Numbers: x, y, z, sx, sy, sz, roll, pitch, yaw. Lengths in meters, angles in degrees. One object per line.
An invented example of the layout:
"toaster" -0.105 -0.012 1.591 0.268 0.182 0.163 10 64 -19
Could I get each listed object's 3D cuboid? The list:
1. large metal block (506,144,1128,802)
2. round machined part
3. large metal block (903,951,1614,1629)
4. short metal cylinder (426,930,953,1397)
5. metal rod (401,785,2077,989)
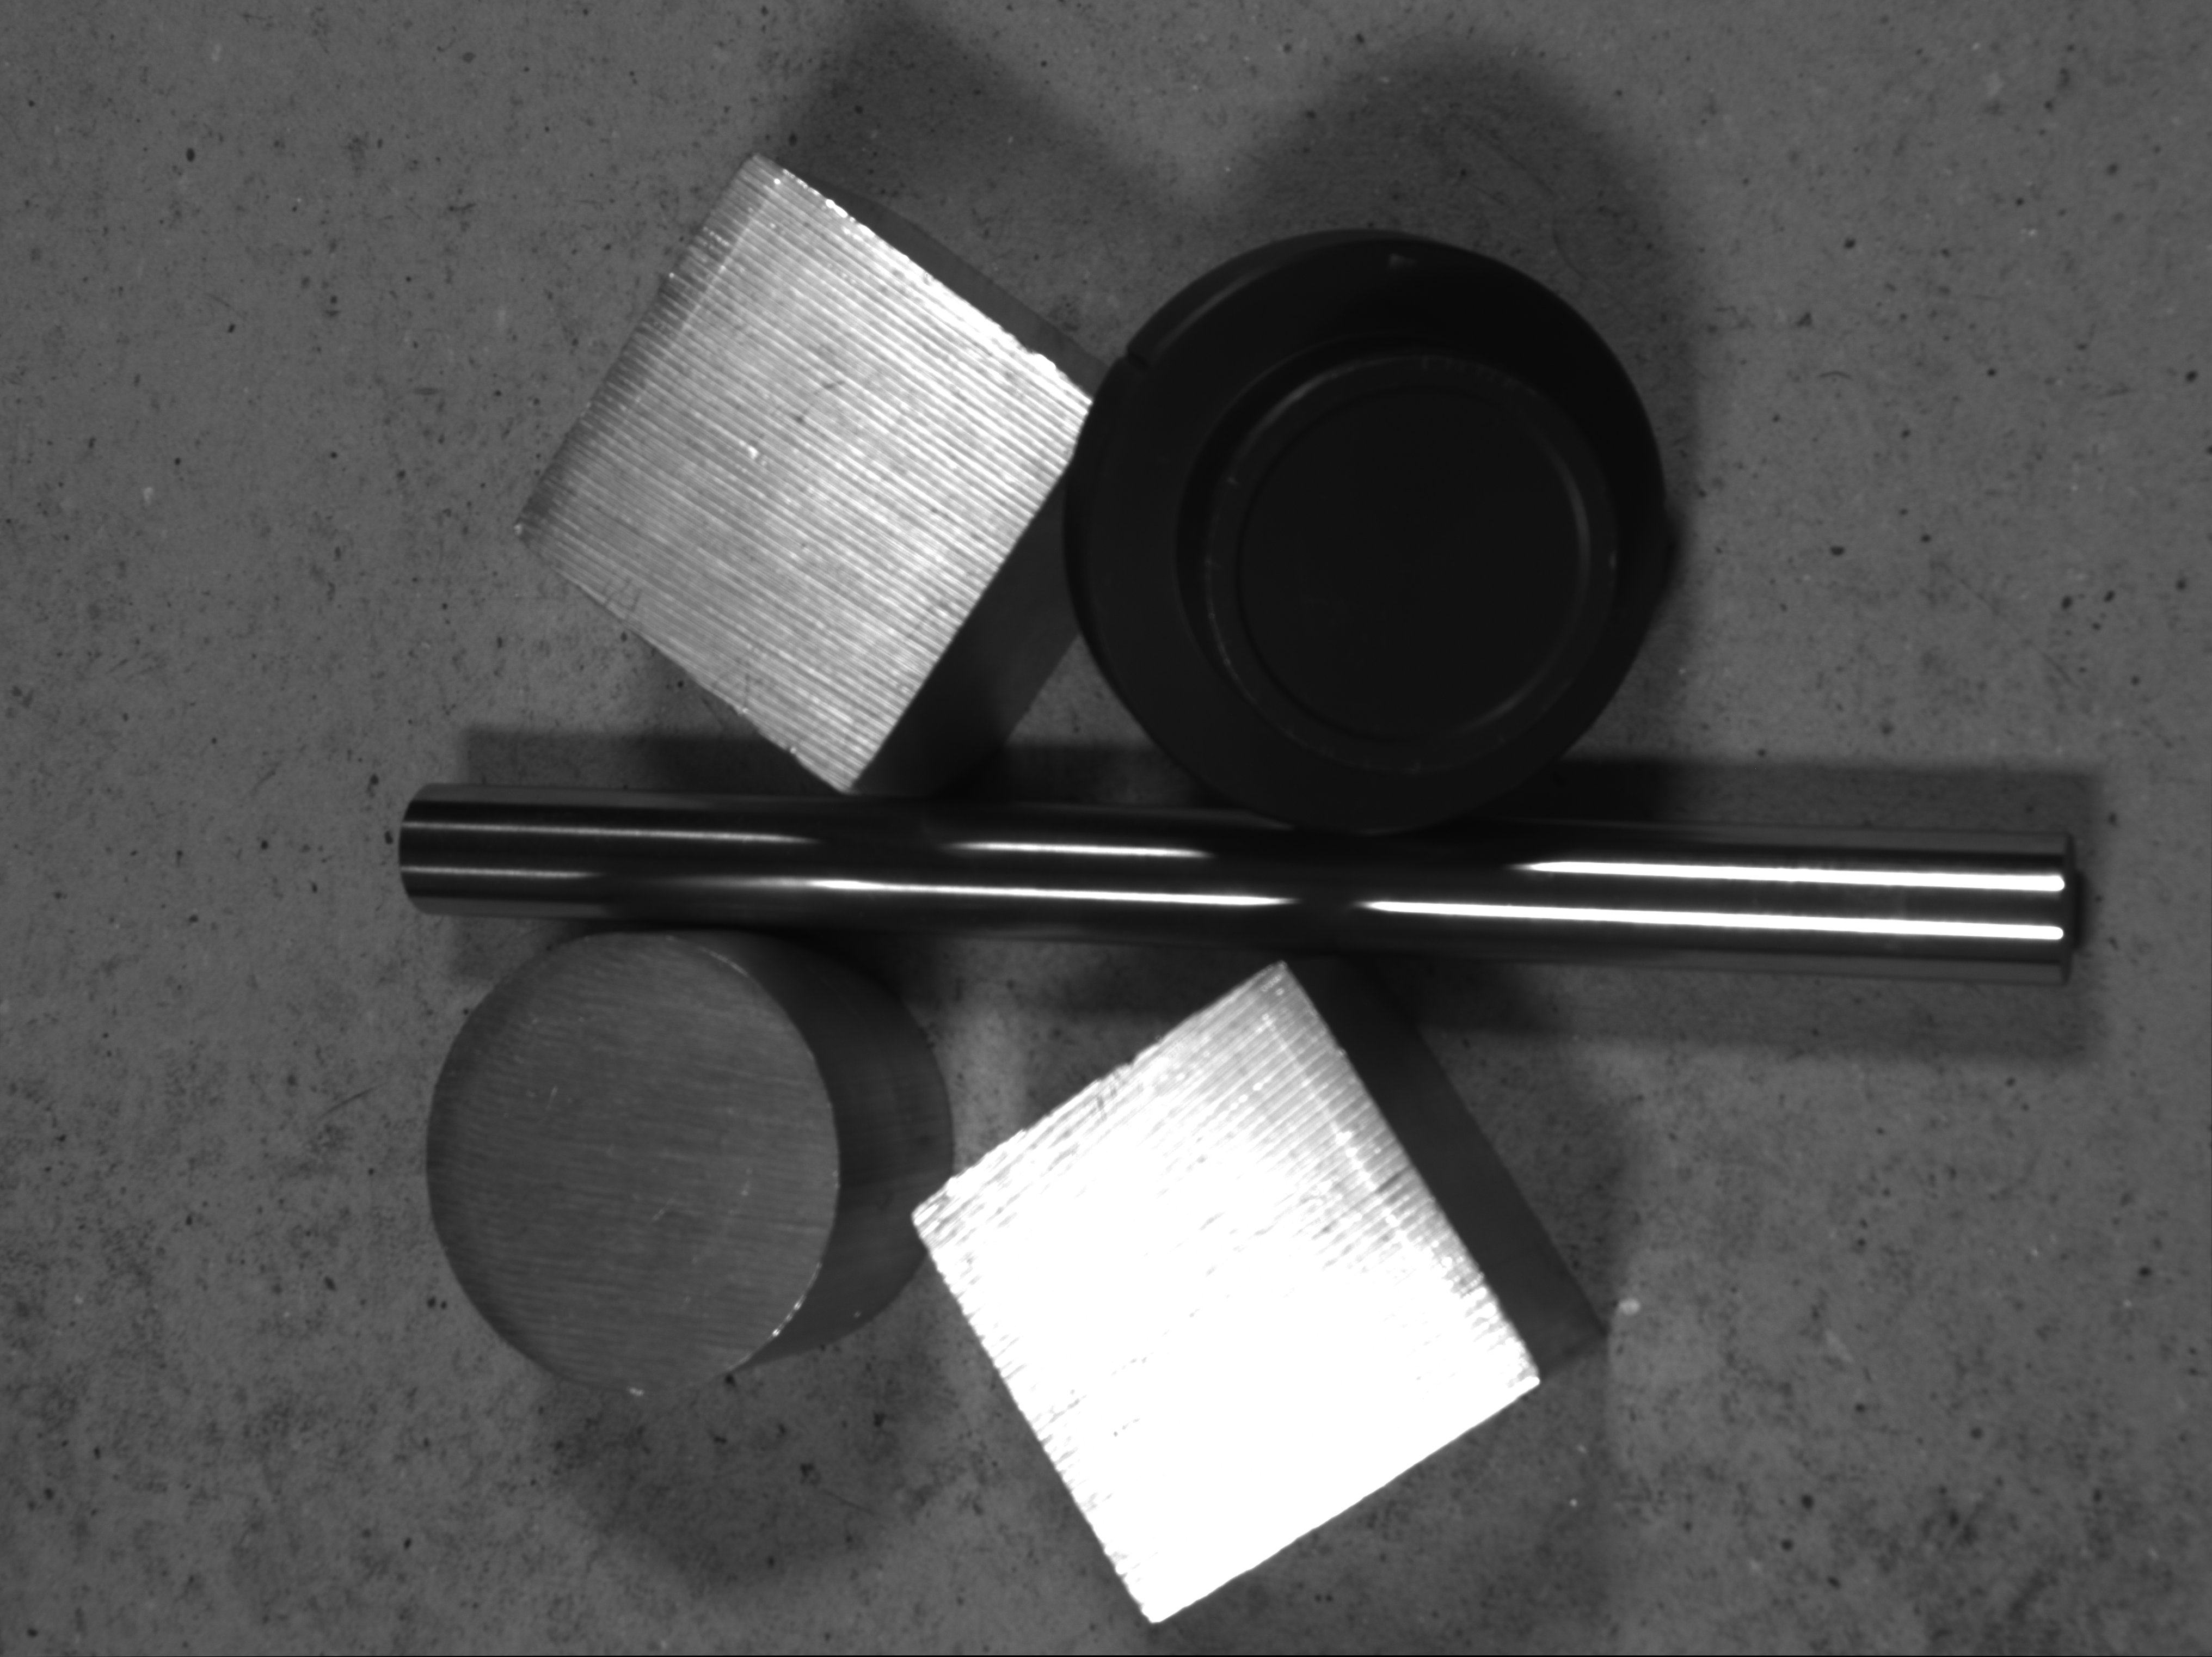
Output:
"large metal block" -0.044 -0.061 0.645 0.080 0.050 0.080 38 102 16
"round machined part" 0.044 -0.046 0.595 0.098 0.042 0.098 -2 104 -8
"large metal block" 0.026 0.076 0.622 0.080 0.050 0.080 -35 79 16
"short metal cylinder" -0.074 0.058 0.657 0.080 0.050 0.080 0 90 20
"metal rod" 0.014 0.009 0.640 0.299 0.025 0.025 2 90 20
